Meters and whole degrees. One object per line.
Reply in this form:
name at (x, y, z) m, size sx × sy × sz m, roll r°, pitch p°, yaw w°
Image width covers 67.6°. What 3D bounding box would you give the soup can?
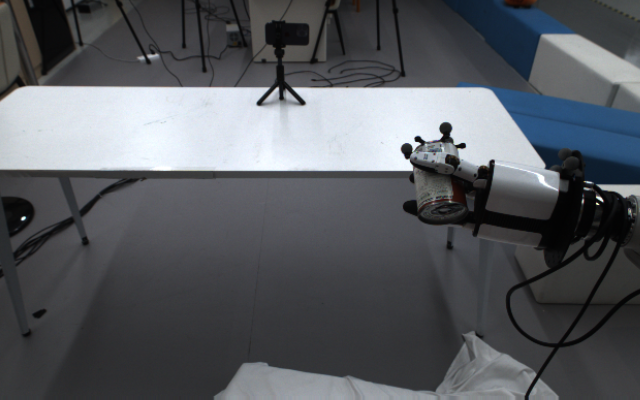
soup can at (0.168, -0.025, 0.683) m, size 0.067 × 0.067 × 0.101 m, roll 1°, pitch 63°, yaw -2°
